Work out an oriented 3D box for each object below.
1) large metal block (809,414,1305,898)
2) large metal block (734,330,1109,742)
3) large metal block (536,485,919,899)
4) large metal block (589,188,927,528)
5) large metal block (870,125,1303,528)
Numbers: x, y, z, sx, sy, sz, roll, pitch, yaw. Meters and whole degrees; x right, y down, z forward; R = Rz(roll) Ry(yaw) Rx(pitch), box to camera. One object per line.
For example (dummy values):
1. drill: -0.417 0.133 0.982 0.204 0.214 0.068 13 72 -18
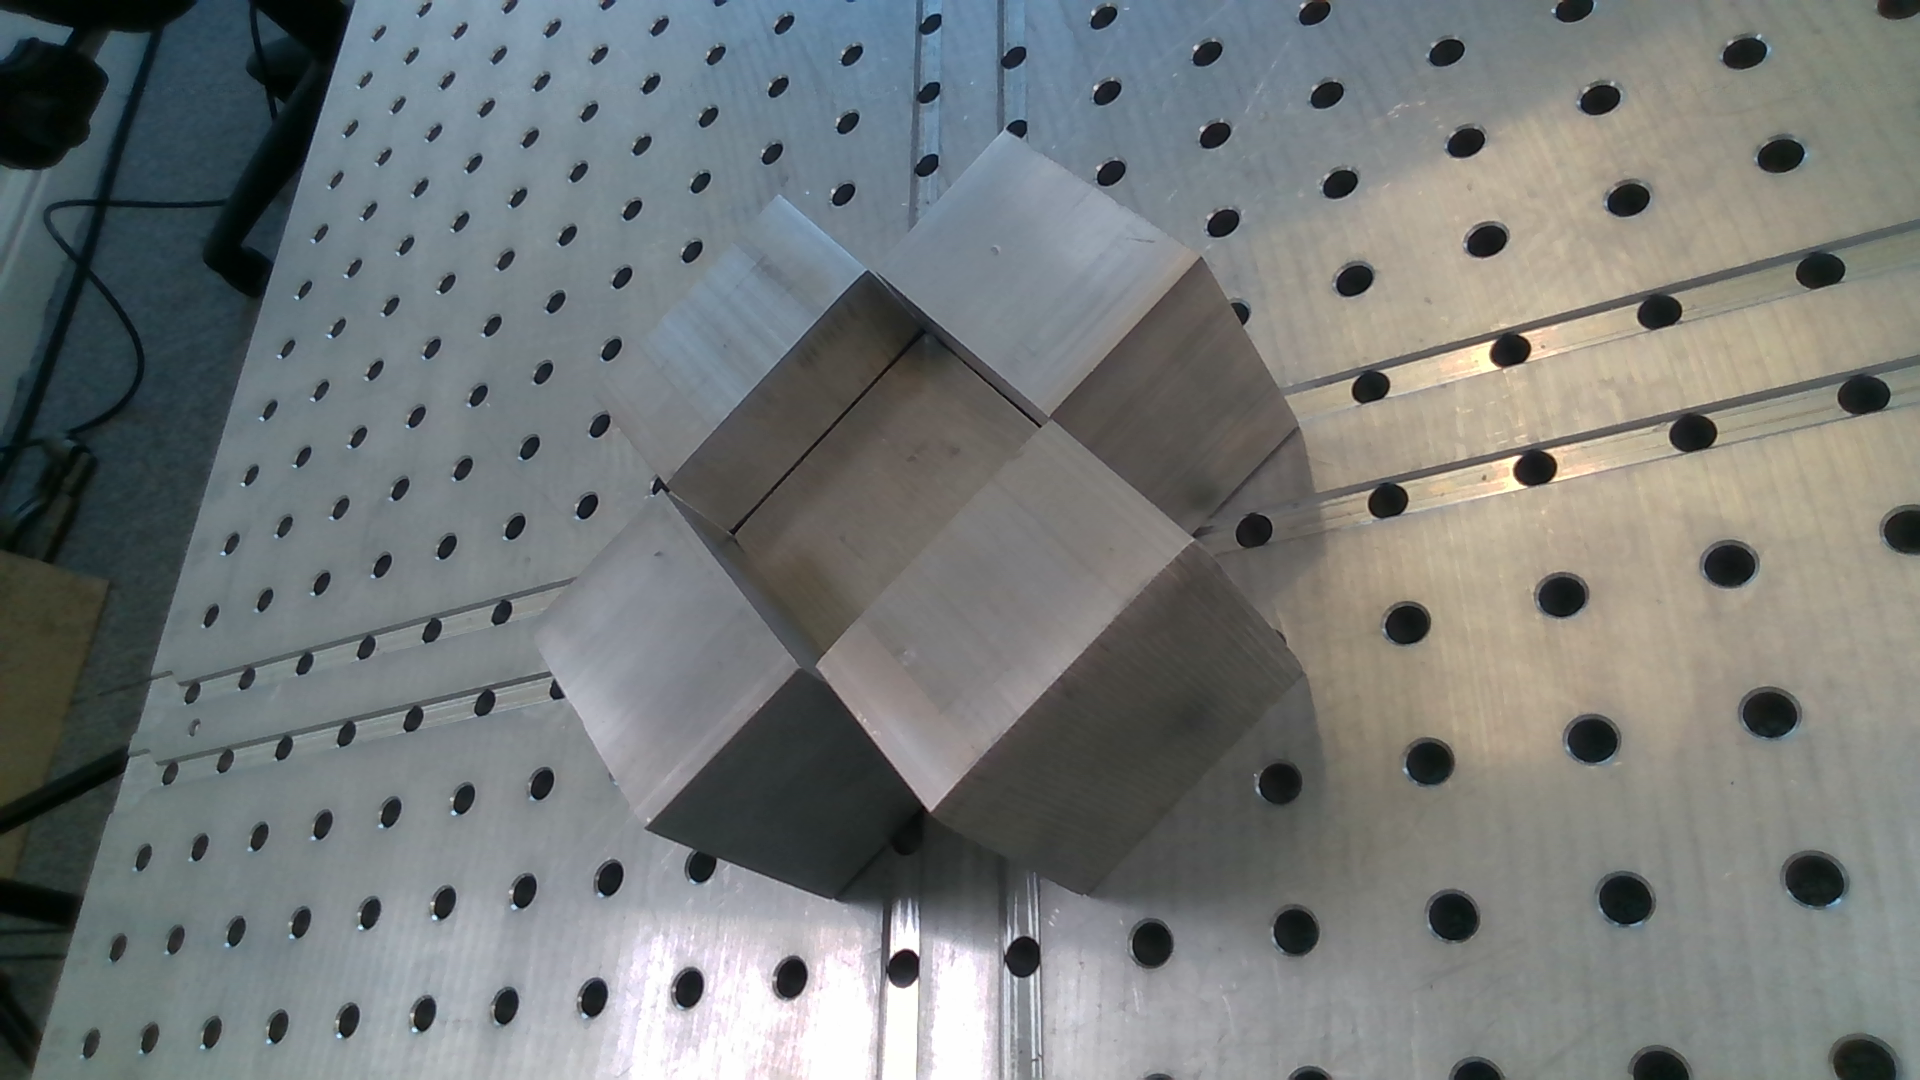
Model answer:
1. large metal block: 0.026 0.031 0.328 0.080 0.080 0.050 -47 51 2
2. large metal block: -0.004 0.001 0.380 0.080 0.050 0.080 -46 49 1
3. large metal block: -0.056 0.042 0.374 0.050 0.080 0.080 -46 51 3
4. large metal block: -0.047 -0.041 0.411 0.080 0.080 0.050 -47 51 2
5. large metal block: 0.034 -0.052 0.367 0.050 0.080 0.080 -47 51 2
